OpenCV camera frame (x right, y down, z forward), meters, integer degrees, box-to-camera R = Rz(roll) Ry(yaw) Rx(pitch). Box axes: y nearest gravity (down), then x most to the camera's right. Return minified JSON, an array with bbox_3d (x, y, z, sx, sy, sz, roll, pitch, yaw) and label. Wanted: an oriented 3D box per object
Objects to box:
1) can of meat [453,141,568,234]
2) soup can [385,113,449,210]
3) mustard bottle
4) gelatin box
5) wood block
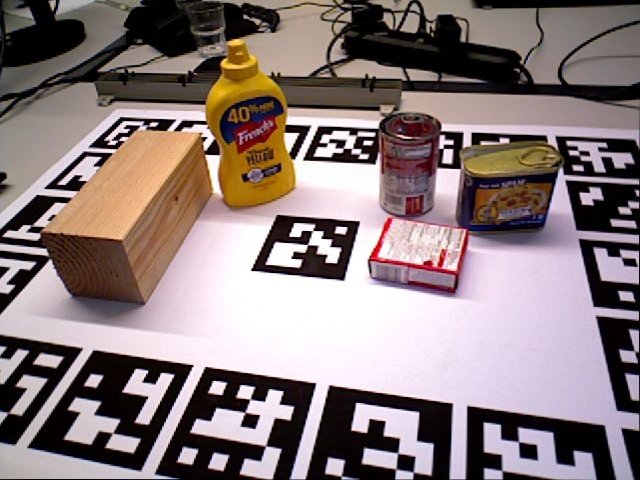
[{"bbox_3d":[0.198,-0.056,0.582,0.101,0.085,0.057,-2,41,-1],"label":"can of meat"},{"bbox_3d":[0.106,-0.093,0.607,0.068,0.104,0.067,-4,41,2],"label":"soup can"},{"bbox_3d":[-0.086,-0.128,0.622,0.095,0.195,0.058,-10,40,-9],"label":"mustard bottle"},{"bbox_3d":[0.106,0.014,0.544,0.090,0.031,0.071,10,44,21],"label":"gelatin box"},{"bbox_3d":[-0.200,-0.034,0.597,0.091,0.092,0.202,7,37,11],"label":"wood block"}]
